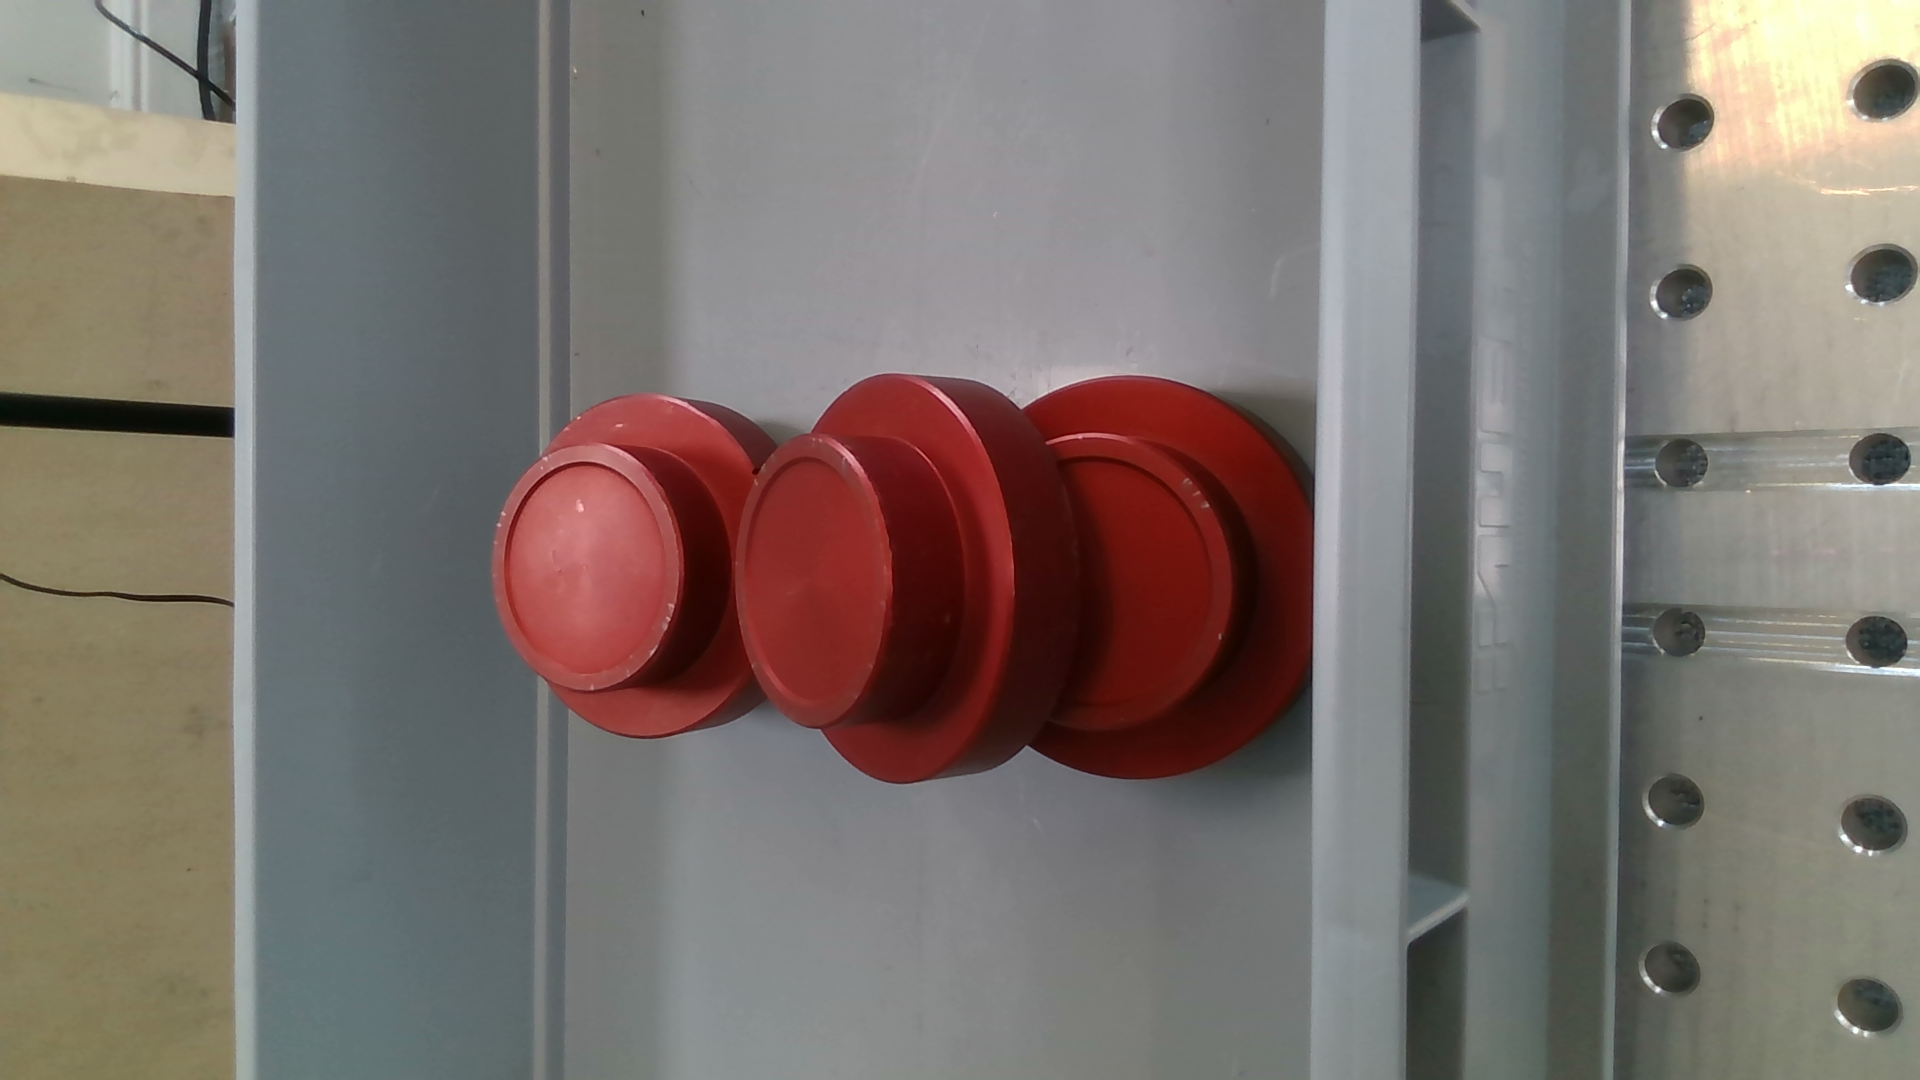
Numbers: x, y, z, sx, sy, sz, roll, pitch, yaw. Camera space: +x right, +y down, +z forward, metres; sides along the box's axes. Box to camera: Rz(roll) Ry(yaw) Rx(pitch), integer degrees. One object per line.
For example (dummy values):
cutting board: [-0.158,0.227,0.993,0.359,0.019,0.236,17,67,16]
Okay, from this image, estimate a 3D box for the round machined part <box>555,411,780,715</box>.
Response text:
round machined part: [-0.099,0.007,0.444,0.098,0.042,0.098,0,90,55]

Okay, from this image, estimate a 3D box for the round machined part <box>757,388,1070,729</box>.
round machined part: [-0.020,0.005,0.396,0.098,0.042,0.098,0,91,39]

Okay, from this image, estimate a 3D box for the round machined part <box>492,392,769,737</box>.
round machined part: [-0.093,0.007,0.390,0.098,0.042,0.098,0,91,29]

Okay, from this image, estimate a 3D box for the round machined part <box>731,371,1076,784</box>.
round machined part: [-0.020,0.009,0.328,0.098,0.042,0.098,0,90,52]

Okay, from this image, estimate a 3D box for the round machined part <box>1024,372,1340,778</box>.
round machined part: [0.039,0.009,0.331,0.098,0.042,0.098,0,91,24]
